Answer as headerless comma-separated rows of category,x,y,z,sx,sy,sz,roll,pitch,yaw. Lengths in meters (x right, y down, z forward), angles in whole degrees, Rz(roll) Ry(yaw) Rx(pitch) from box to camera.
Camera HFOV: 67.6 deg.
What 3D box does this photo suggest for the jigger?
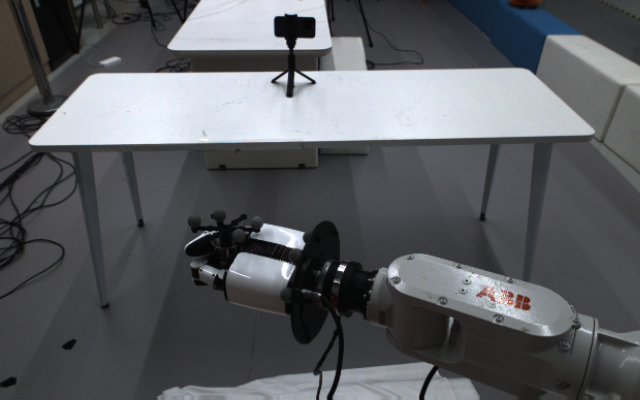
jigger,-0.122,0.084,0.663,0.043,0.071,0.043,3,25,-1
